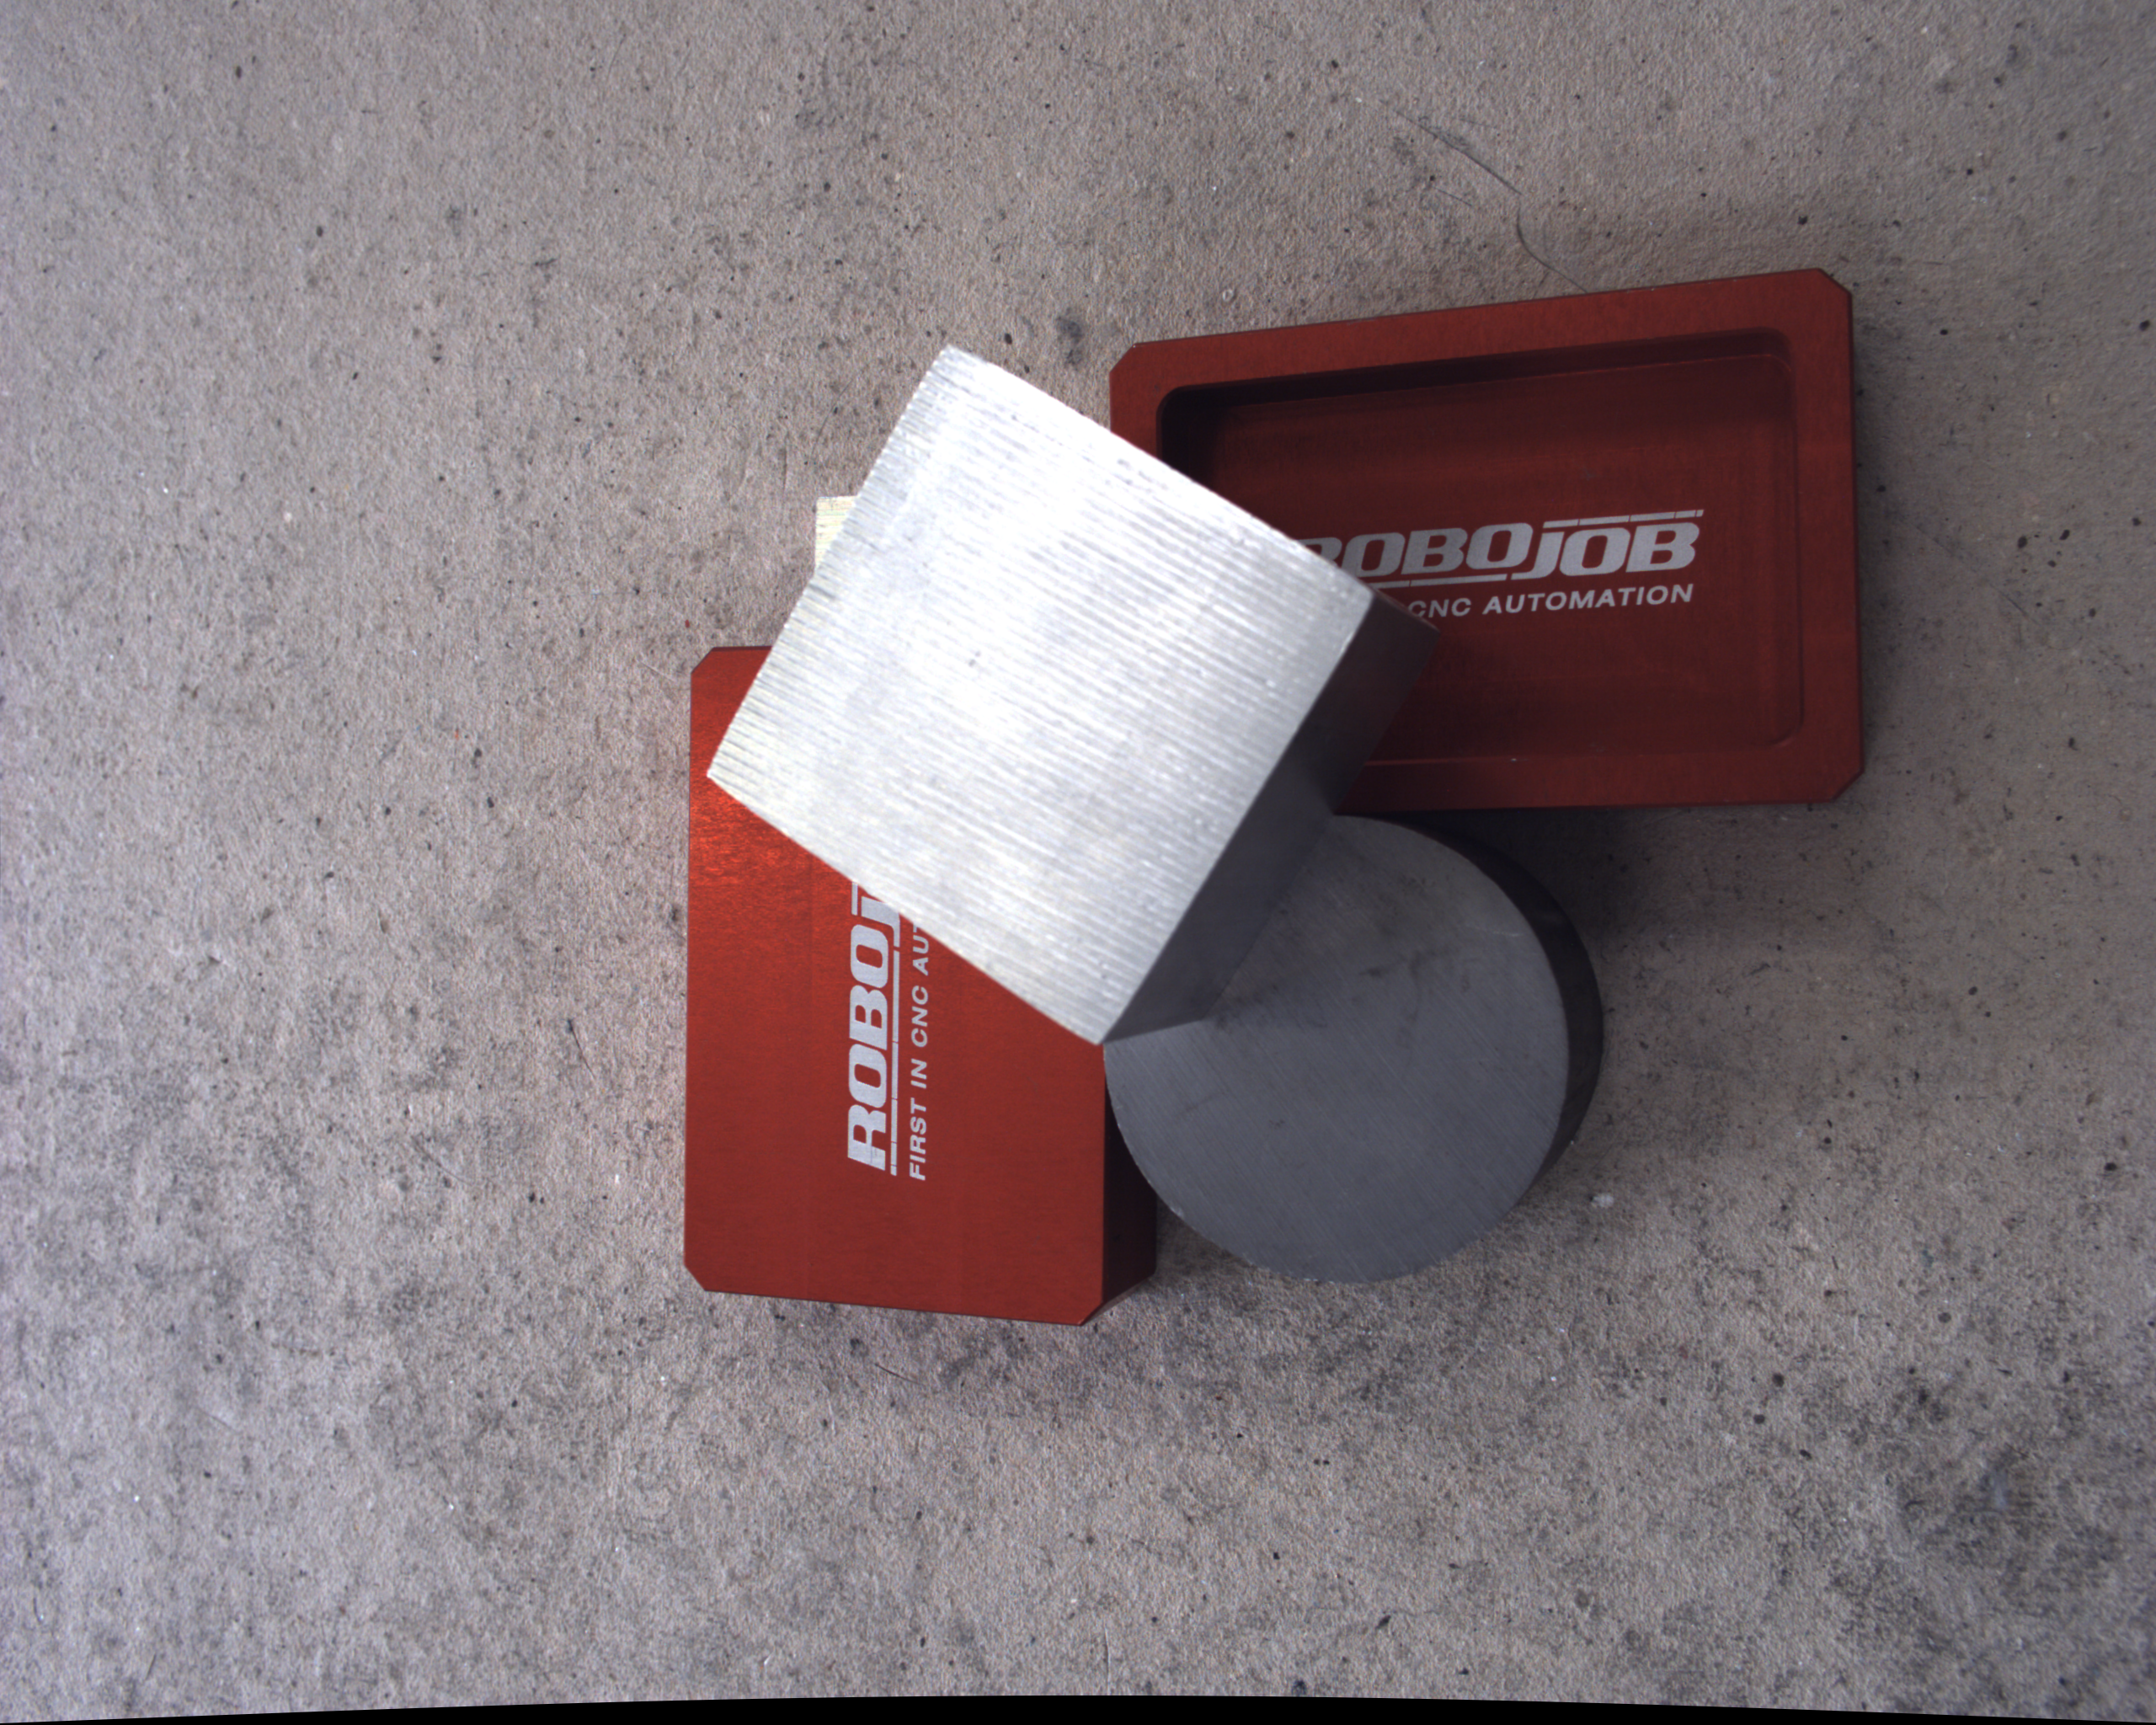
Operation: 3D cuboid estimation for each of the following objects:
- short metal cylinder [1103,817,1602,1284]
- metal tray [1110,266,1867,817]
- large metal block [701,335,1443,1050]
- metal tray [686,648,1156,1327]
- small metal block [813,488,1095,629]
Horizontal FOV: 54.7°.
[{"bbox_3d":[0.051,0.032,0.378,0.080,0.050,0.080,0,90,20],"label":"short metal cylinder"},{"bbox_3d":[0.073,-0.054,0.381,0.130,0.030,0.089,-2,89,19],"label":"metal tray"},{"bbox_3d":[0.000,-0.027,0.342,0.080,0.050,0.080,34,101,16],"label":"large metal block"},{"bbox_3d":[-0.031,0.022,0.419,0.090,0.030,0.129,1,90,20],"label":"metal tray"},{"bbox_3d":[-0.017,-0.055,0.403,0.050,0.050,0.025,1,91,20],"label":"small metal block"}]
